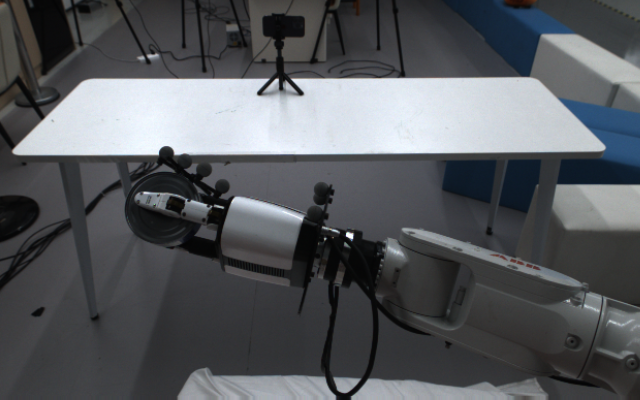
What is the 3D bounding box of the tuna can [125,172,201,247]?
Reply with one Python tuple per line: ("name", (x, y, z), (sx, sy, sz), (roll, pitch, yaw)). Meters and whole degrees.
("tuna can", (-0.180, 0.013, 0.570), (0.085, 0.034, 0.085), (1, 75, -4))
